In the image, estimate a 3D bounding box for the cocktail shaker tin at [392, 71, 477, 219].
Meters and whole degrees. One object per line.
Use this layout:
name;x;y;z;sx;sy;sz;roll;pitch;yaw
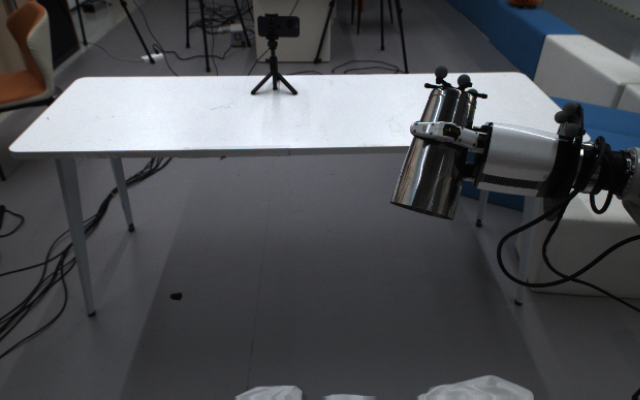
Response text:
cocktail shaker tin;0.168;-0.066;0.683;0.093;0.170;0.093;16;-2;1
